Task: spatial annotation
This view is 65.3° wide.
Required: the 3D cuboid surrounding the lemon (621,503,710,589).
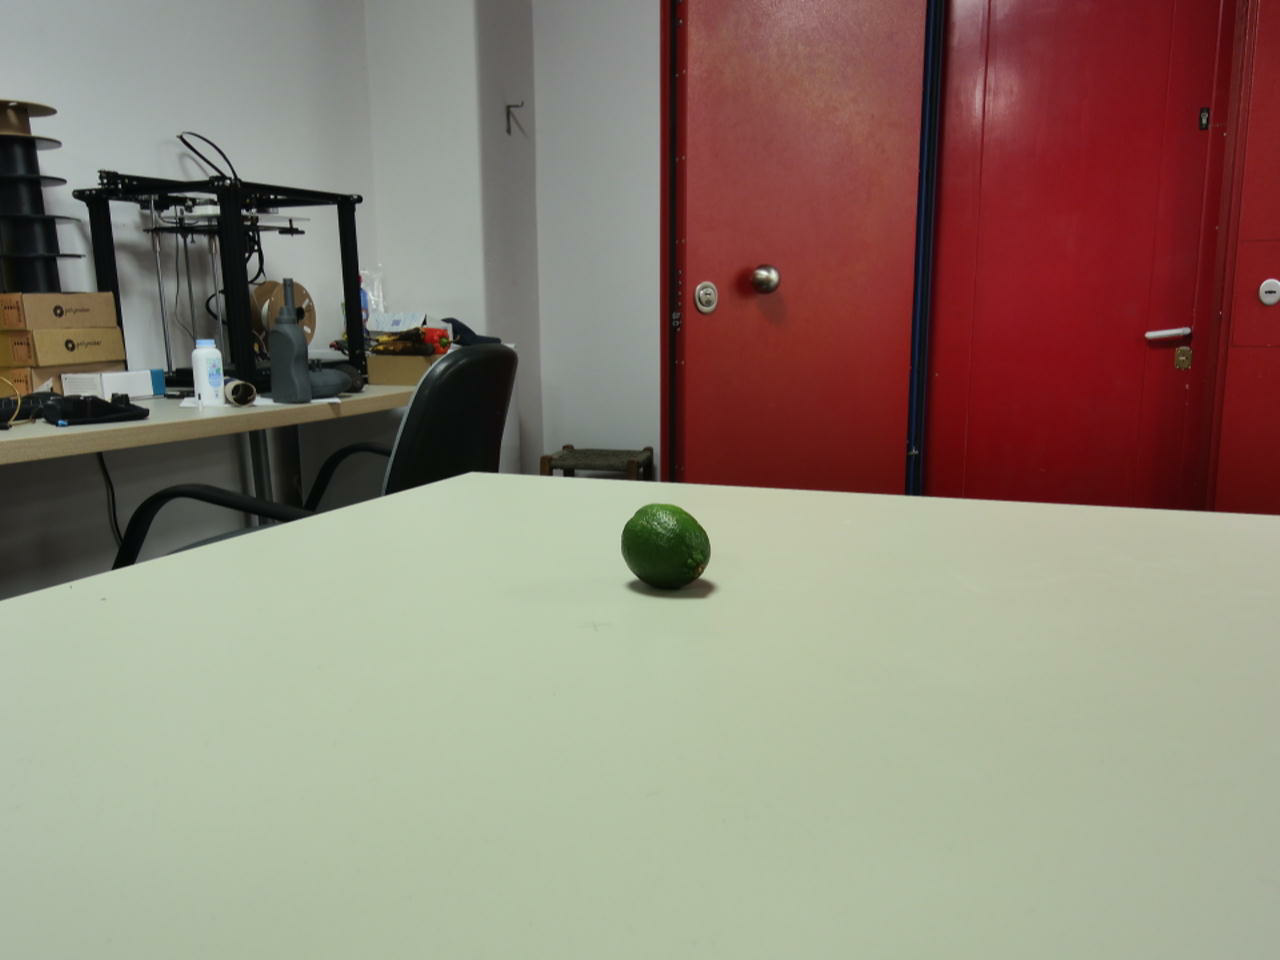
[{"bbox_3d":[0.016,0.040,0.618,0.057,0.051,0.054,3,8,19],"label":"lemon"}]
